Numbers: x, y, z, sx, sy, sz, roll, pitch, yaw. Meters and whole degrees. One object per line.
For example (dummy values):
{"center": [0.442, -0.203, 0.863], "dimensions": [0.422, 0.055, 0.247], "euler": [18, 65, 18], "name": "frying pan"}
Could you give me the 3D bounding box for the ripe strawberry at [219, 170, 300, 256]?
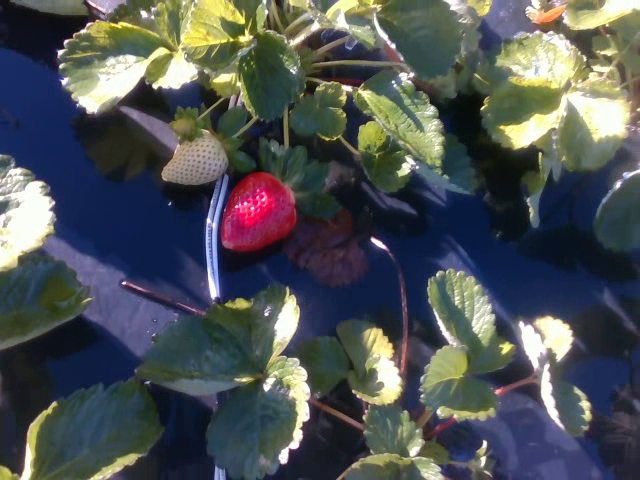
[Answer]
{"center": [-0.038, -0.018, 0.407], "dimensions": [0.040, 0.063, 0.080], "euler": [-6, 32, 44], "name": "ripe strawberry"}
